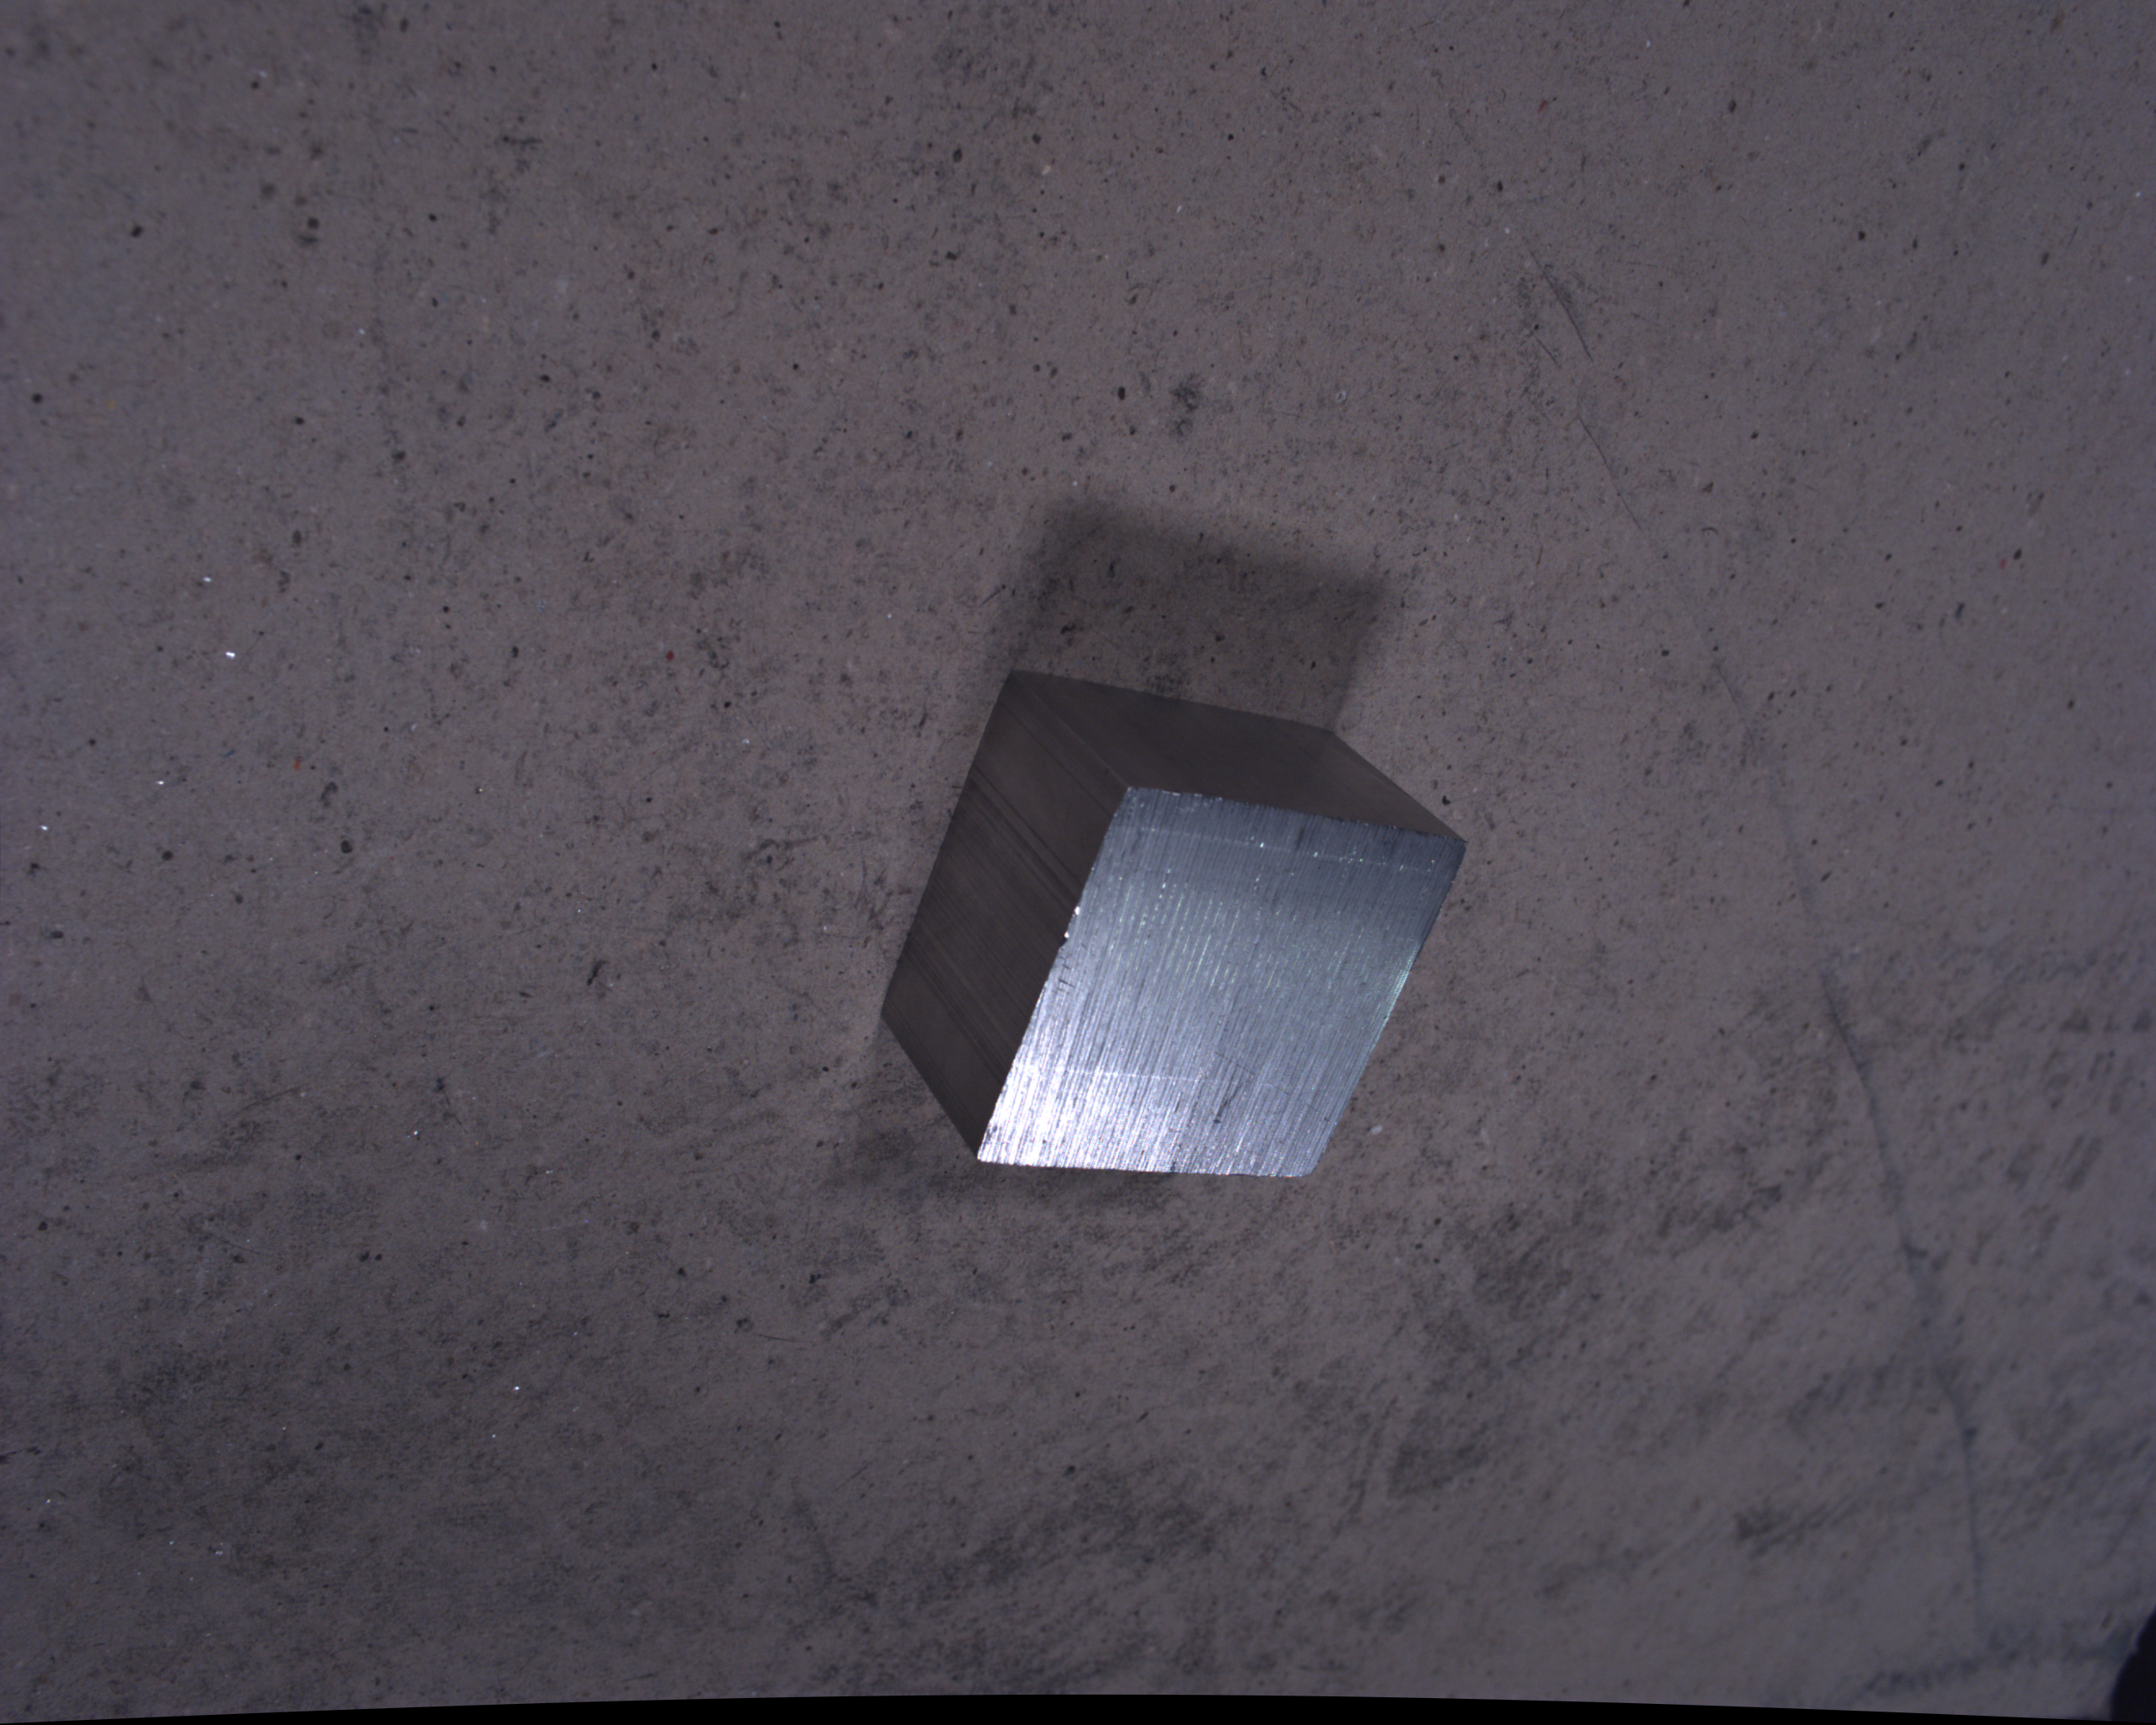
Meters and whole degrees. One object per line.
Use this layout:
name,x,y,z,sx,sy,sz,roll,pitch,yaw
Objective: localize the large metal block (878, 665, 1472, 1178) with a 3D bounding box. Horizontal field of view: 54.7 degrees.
large metal block,0.018,0.014,0.412,0.081,0.050,0.079,8,114,-32
